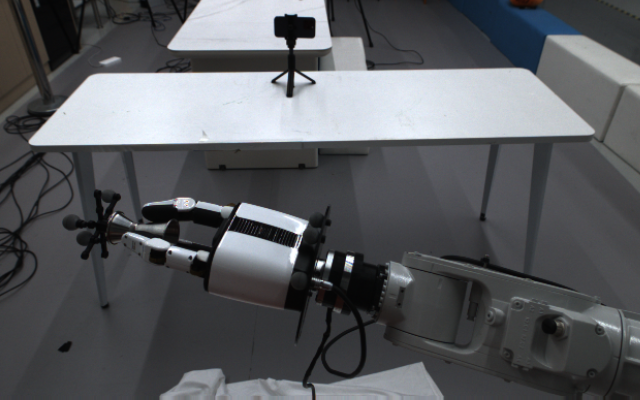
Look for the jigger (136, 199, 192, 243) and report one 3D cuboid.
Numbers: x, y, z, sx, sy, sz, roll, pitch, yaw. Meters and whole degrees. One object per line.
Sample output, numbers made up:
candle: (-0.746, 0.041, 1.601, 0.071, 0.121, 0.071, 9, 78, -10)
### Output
jigger: (-0.193, 0.033, 0.556, 0.071, 0.043, 0.043, 8, 35, 5)
